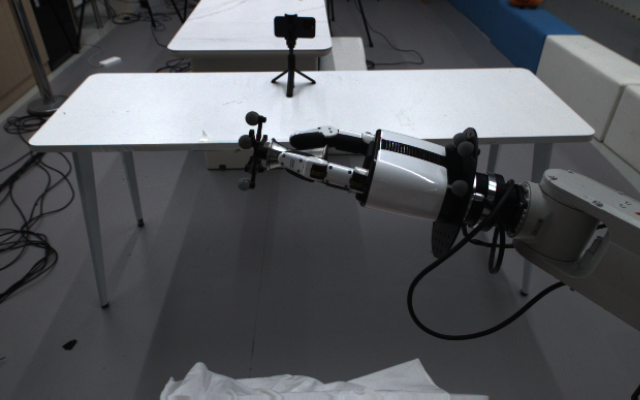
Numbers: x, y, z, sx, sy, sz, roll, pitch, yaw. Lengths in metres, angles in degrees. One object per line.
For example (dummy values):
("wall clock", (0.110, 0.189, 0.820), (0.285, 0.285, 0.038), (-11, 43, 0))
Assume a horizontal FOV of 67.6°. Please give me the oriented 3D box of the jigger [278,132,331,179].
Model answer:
("jigger", (-0.020, -0.053, 0.588), (0.071, 0.043, 0.043), (8, 35, 4))
